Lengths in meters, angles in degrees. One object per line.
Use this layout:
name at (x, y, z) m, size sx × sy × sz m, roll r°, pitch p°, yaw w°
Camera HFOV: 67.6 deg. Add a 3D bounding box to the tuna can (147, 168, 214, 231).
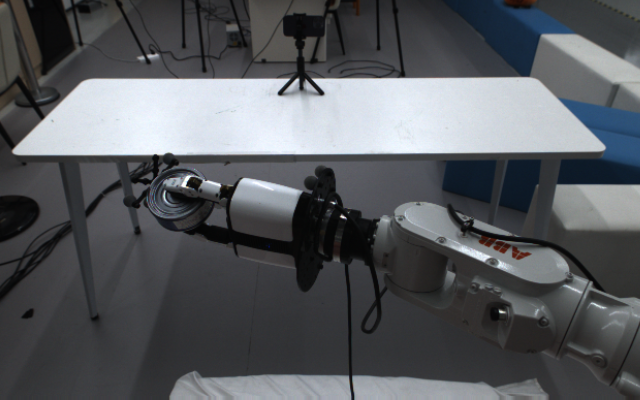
tuna can at (-0.186, -0.001, 0.658) m, size 0.085 × 0.034 × 0.085 m, roll -1°, pitch 64°, yaw 1°
